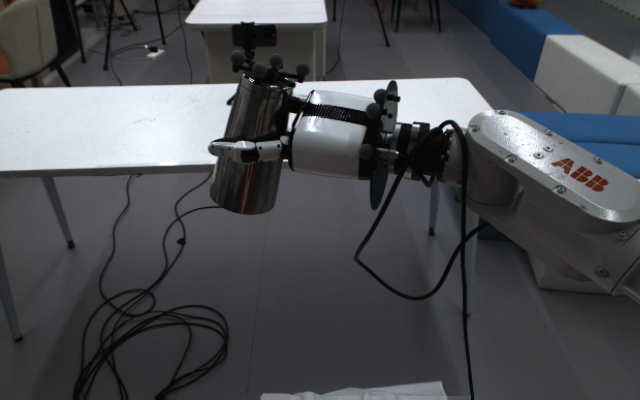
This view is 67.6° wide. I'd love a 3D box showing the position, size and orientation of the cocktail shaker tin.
[{"bbox_3d":[-0.083,-0.079,0.628,0.093,0.170,0.093,12,29,-7],"label":"cocktail shaker tin"}]
